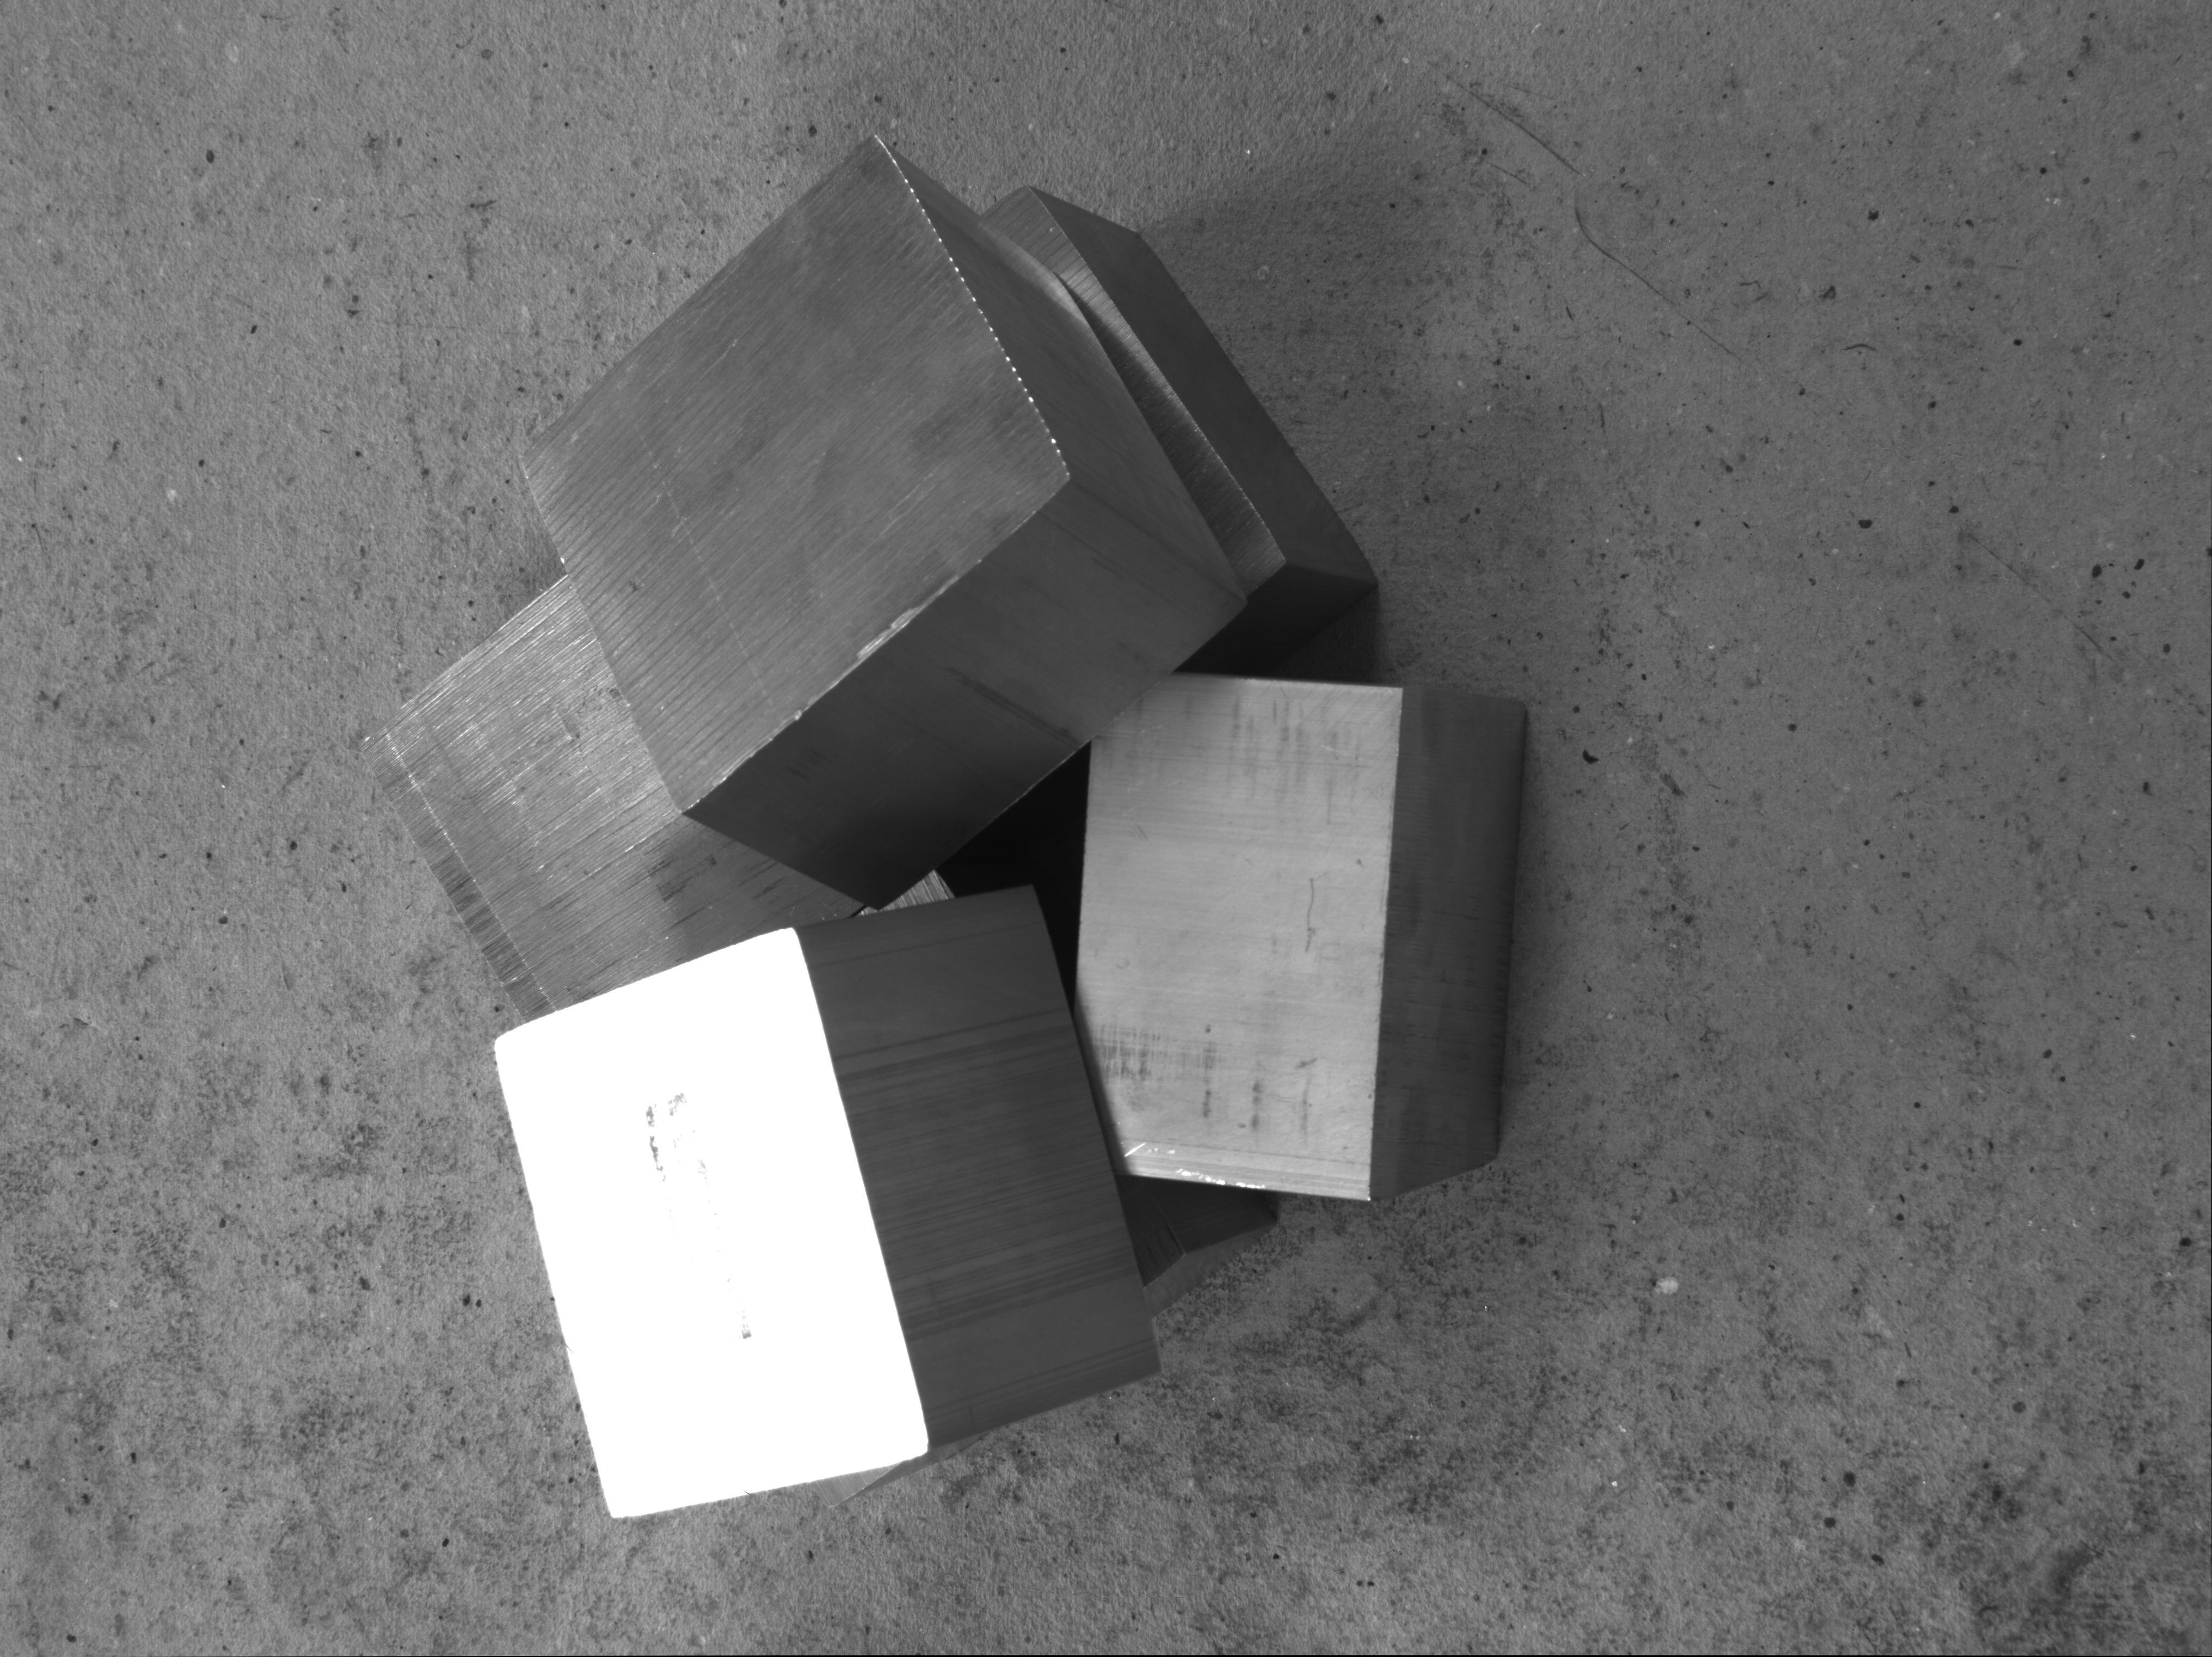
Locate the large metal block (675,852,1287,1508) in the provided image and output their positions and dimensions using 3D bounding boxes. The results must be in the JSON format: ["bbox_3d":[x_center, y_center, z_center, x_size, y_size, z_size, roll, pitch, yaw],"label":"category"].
[{"bbox_3d":[-0.029,0.060,0.645,0.080,0.050,0.080,-37,78,16],"label":"large metal block"}]

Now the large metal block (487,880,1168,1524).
[{"bbox_3d":[-0.045,0.060,0.580,0.080,0.050,0.080,-20,83,44],"label":"large metal block"}]

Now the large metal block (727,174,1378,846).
[{"bbox_3d":[-0.013,-0.053,0.636,0.080,0.050,0.080,-37,78,15],"label":"large metal block"}]

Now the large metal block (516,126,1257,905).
[{"bbox_3d":[-0.036,-0.047,0.576,0.080,0.050,0.080,-39,54,15],"label":"large metal block"}]

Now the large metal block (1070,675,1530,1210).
[{"bbox_3d":[0.034,0.017,0.605,0.050,0.080,0.080,4,91,20],"label":"large metal block"}]

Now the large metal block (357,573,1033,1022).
[{"bbox_3d":[-0.073,-0.005,0.660,0.080,0.050,0.080,-37,78,16],"label":"large metal block"}]
